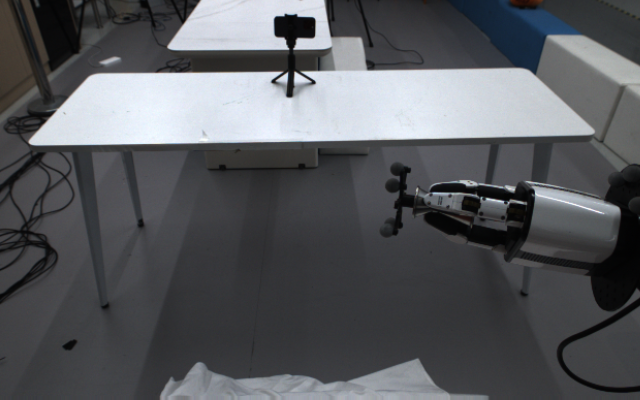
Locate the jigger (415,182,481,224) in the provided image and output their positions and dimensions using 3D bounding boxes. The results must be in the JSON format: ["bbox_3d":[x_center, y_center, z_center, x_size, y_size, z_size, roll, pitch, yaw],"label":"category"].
[{"bbox_3d":[0.152,0.004,0.567,0.071,0.043,0.043,8,35,14],"label":"jigger"}]
